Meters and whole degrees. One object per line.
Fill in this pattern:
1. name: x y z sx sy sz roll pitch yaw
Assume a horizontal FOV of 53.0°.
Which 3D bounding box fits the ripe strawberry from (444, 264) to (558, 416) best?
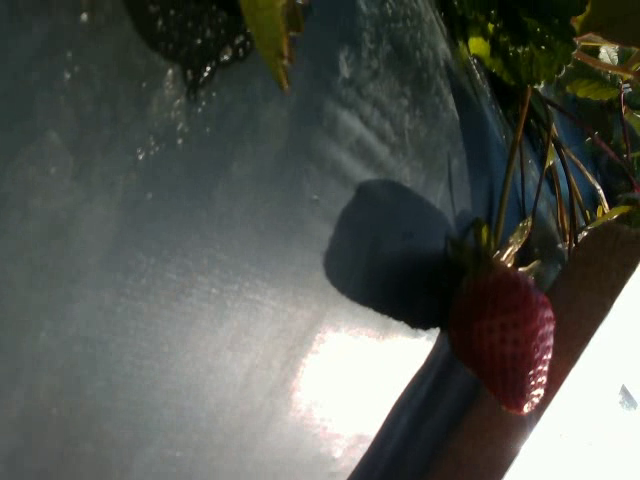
1. ripe strawberry: 0.040 0.024 0.143 0.033 0.038 0.034 -27 -42 22
